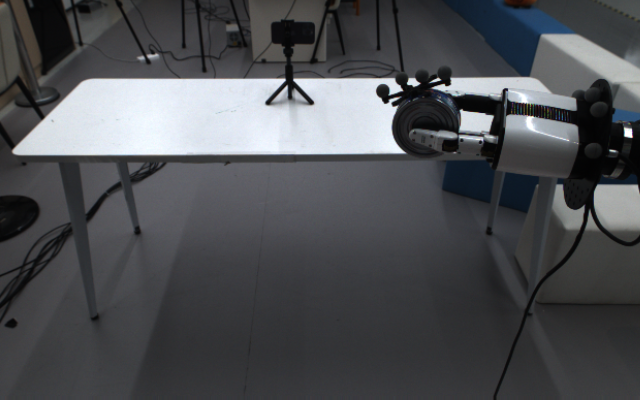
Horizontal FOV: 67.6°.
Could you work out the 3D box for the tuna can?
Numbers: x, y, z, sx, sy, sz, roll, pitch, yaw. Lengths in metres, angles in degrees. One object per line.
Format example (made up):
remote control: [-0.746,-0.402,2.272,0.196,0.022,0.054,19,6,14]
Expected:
tuna can: [0.138,-0.100,0.628,0.085,0.085,0.034,11,34,13]
